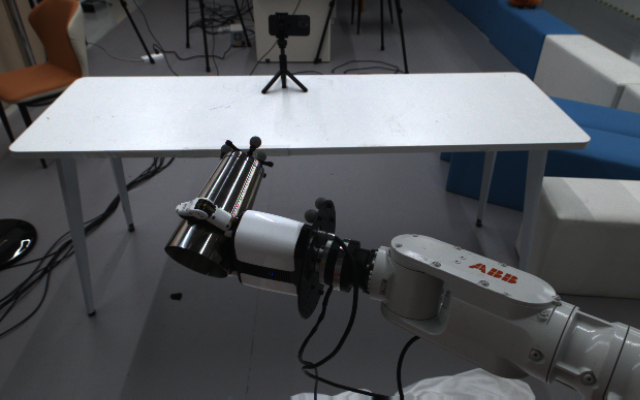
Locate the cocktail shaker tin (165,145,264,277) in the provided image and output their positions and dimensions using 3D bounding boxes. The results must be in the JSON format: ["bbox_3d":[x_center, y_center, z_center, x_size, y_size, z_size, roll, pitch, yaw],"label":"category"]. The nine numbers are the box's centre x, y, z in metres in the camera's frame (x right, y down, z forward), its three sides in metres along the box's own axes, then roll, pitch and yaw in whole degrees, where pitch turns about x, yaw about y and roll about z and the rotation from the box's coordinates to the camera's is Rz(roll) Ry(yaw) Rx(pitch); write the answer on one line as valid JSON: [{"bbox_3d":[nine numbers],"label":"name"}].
[{"bbox_3d":[-0.144,0.016,0.694,0.093,0.093,0.170,13,61,16],"label":"cocktail shaker tin"}]
